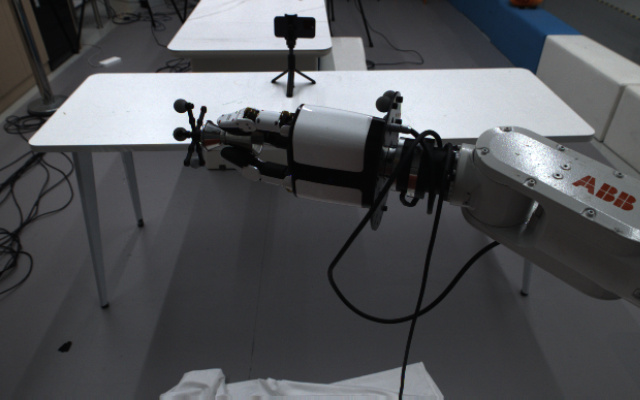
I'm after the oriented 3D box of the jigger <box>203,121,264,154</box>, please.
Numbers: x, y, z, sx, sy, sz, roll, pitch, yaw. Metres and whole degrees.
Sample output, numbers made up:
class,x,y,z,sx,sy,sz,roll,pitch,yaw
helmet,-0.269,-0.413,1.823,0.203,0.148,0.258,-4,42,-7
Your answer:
class,x,y,z,sx,sy,sz,roll,pitch,yaw
jigger,-0.103,-0.082,0.612,0.071,0.043,0.043,4,34,13
